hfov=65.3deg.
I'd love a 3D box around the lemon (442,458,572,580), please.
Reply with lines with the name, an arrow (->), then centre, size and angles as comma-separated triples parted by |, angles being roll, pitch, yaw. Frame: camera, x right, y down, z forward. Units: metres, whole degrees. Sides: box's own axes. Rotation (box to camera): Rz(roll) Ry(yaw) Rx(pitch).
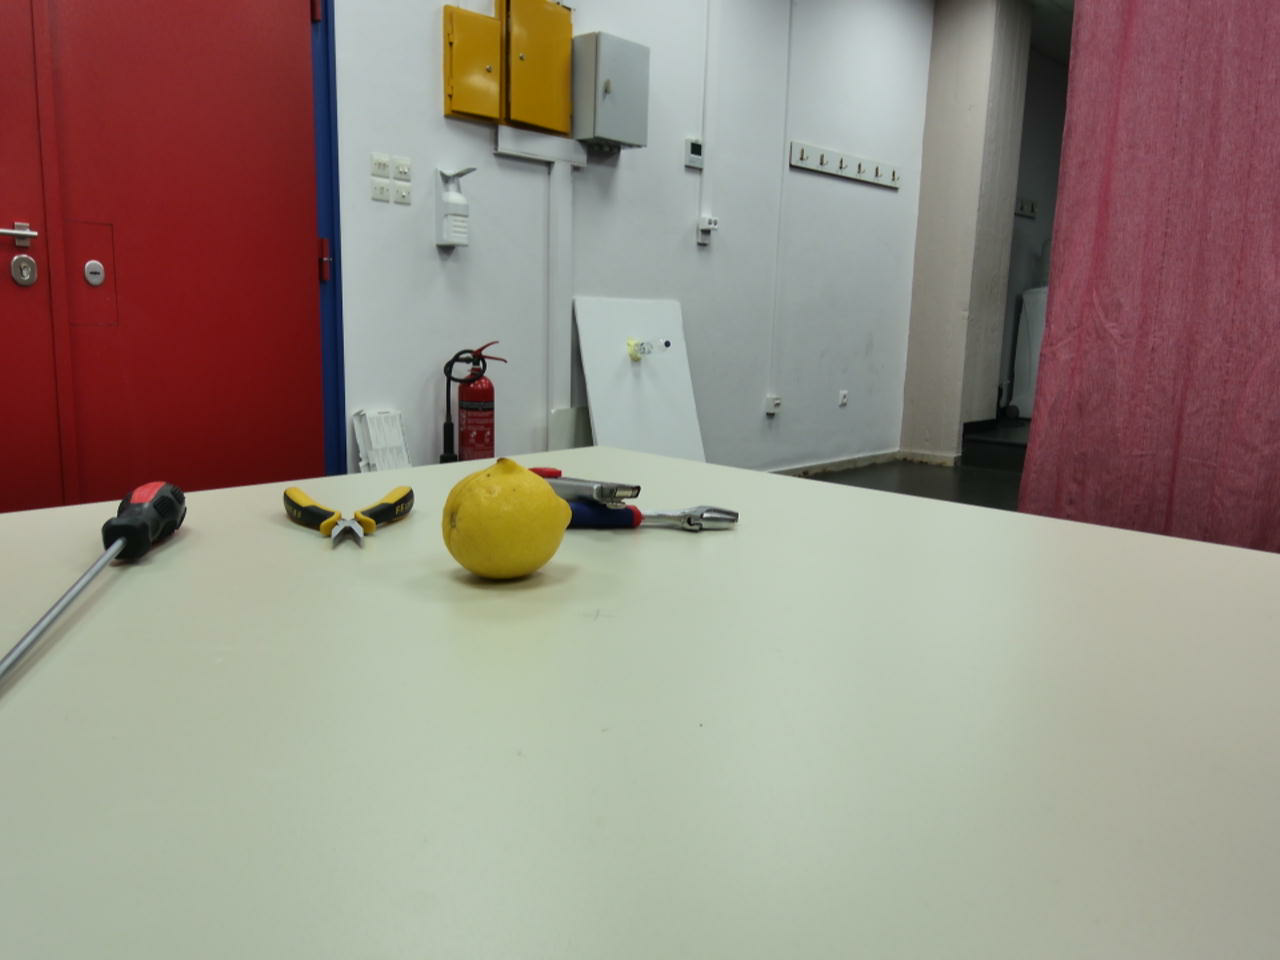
lemon -> -0.080, 0.023, 0.590 | 0.071, 0.071, 0.070 | 1, 8, 9
